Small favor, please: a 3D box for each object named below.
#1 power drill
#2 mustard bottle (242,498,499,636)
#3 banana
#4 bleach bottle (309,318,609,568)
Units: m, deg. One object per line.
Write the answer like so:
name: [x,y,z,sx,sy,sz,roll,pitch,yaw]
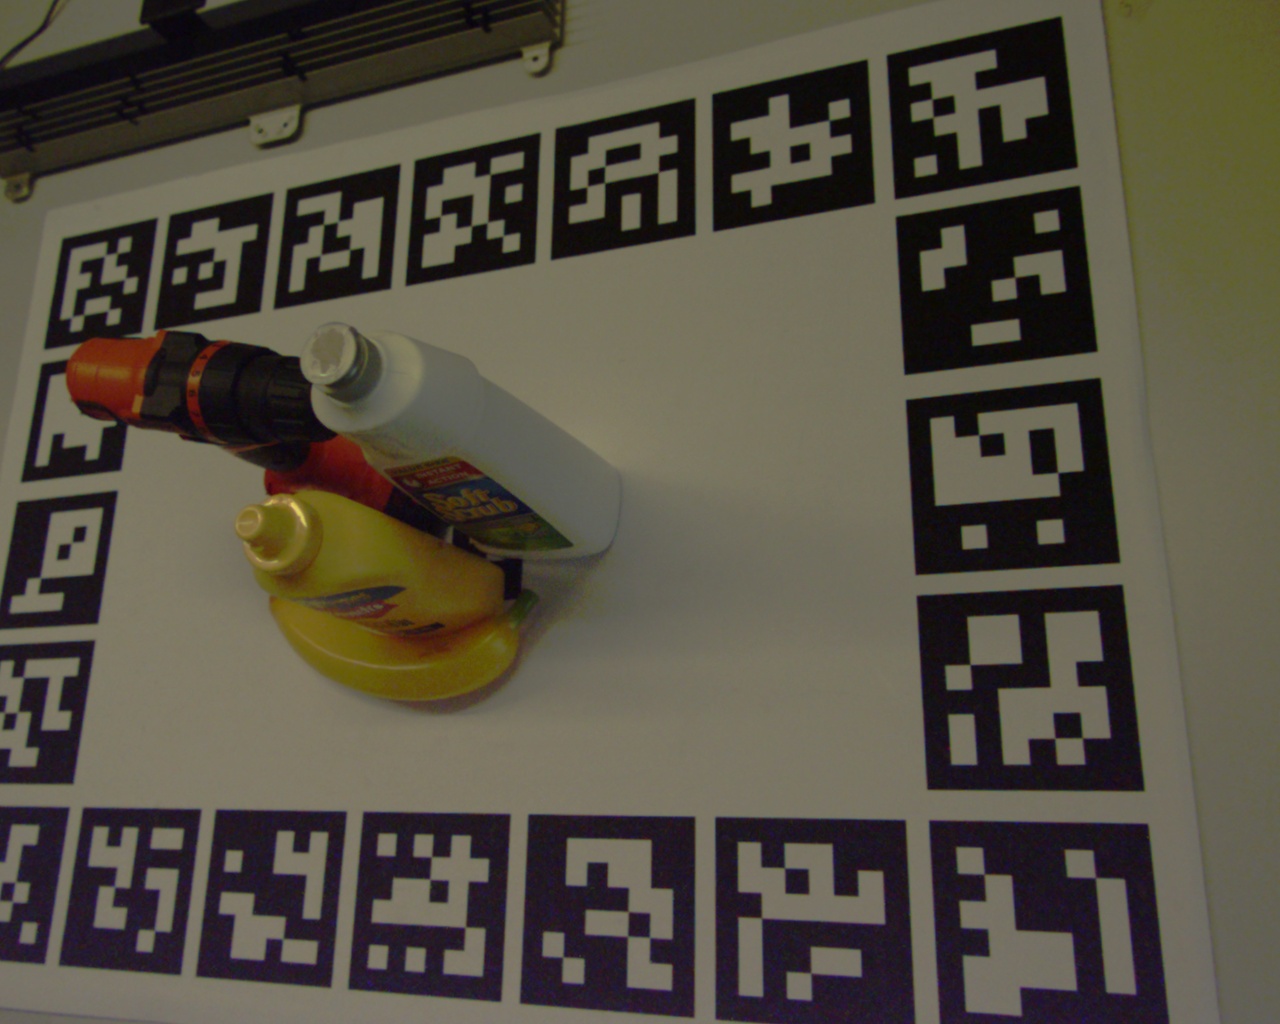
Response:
power drill: [-0.208,-0.039,0.679,0.186,0.185,0.057,8,78,22]
mustard bottle: [-0.164,0.032,0.665,0.097,0.189,0.058,-4,75,19]
banana: [-0.154,0.082,0.742,0.199,0.038,0.074,0,77,24]
bleach bottle: [-0.105,-0.035,0.633,0.103,0.248,0.068,-2,70,21]
